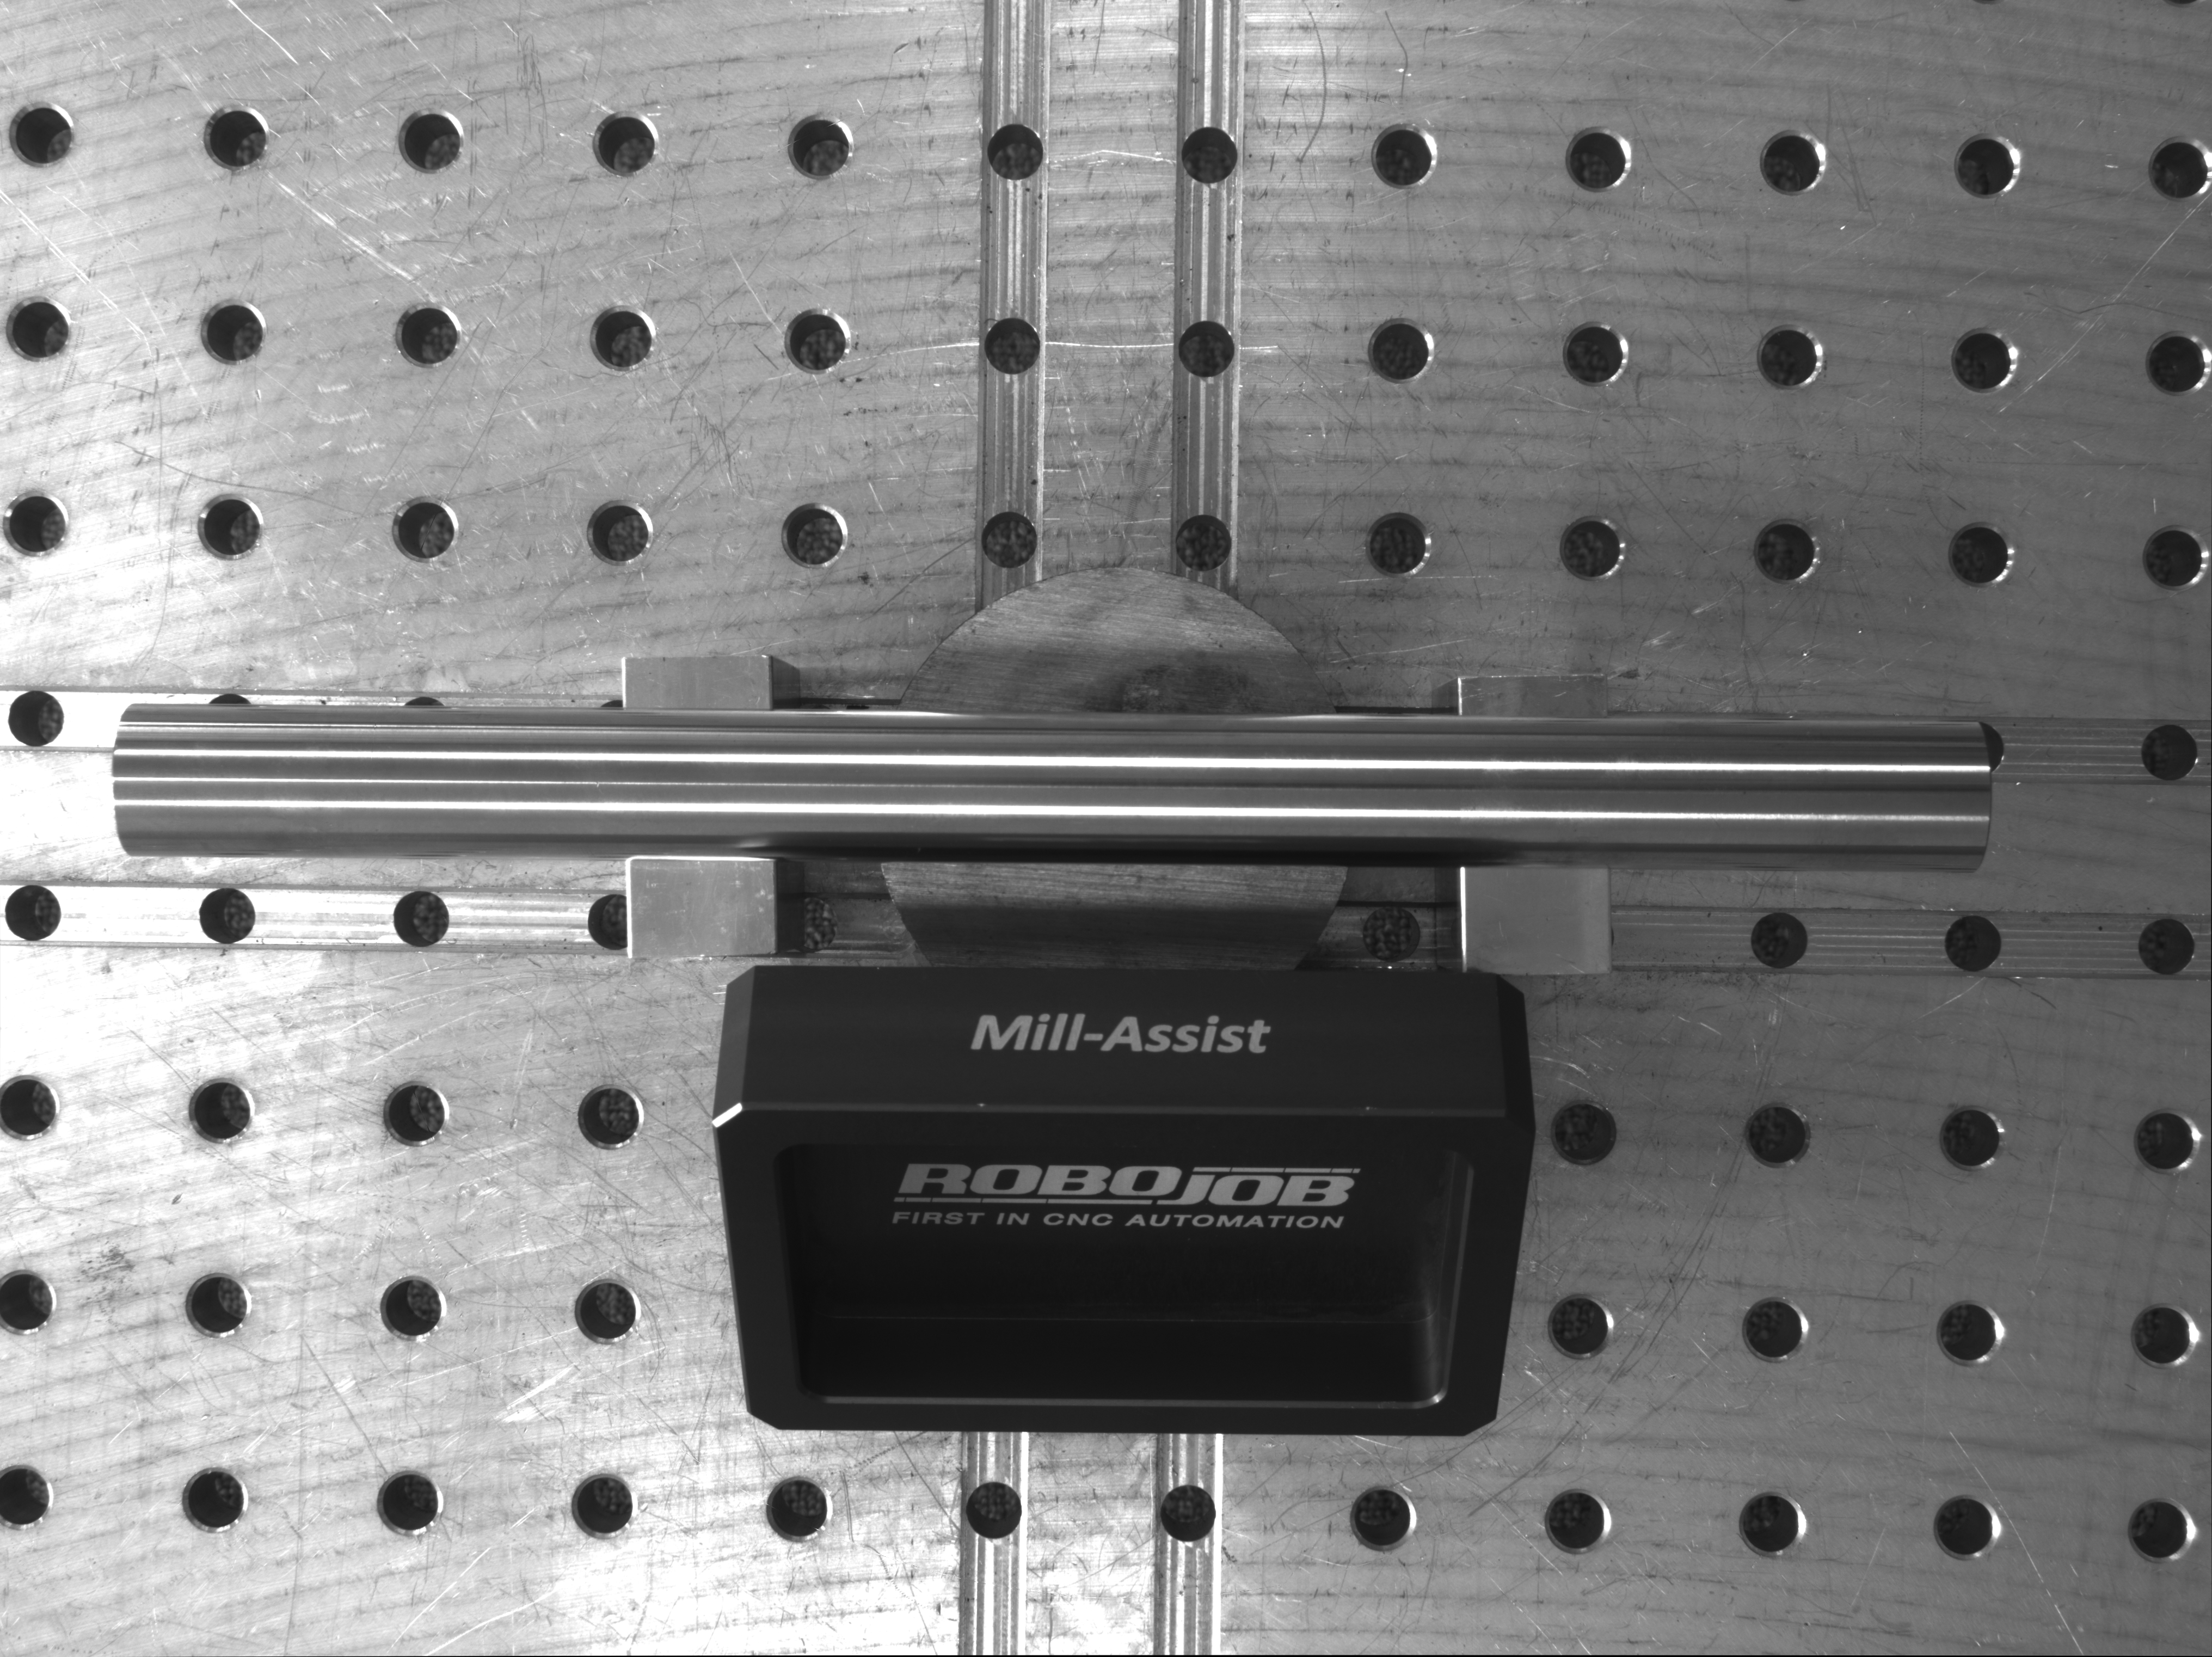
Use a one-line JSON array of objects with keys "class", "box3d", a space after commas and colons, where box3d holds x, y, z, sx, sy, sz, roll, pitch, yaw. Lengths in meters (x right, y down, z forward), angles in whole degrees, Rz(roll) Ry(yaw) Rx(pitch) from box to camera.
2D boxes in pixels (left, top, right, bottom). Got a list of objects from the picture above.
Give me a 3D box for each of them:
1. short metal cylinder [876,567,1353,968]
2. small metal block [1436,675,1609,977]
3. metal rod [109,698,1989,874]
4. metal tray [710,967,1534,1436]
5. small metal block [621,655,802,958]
[{"class": "short metal cylinder", "box3d": [0.002, -0.003, 0.635, 0.080, 0.050, 0.080, 0, 90, 0]}, {"class": "small metal block", "box3d": [0.071, 0.000, 0.635, 0.025, 0.050, 0.050, -1, 90, 0]}, {"class": "metal rod", "box3d": [-0.009, -0.007, 0.597, 0.300, 0.025, 0.025, 1, 90, 0]}, {"class": "metal tray", "box3d": [0.003, 0.064, 0.617, 0.130, 0.090, 0.030, 0, 47, 0]}, {"class": "small metal block", "box3d": [-0.068, -0.004, 0.635, 0.025, 0.050, 0.050, -1, 90, 0]}]
